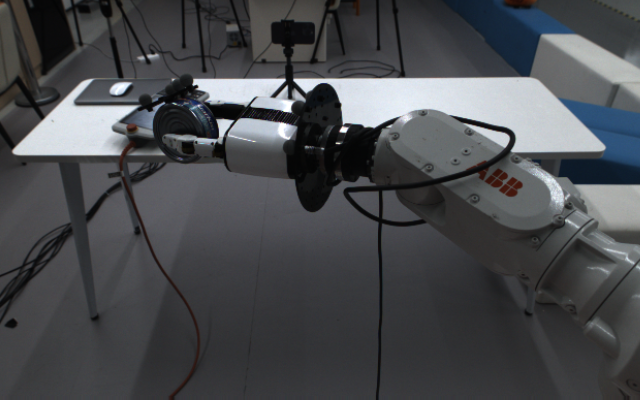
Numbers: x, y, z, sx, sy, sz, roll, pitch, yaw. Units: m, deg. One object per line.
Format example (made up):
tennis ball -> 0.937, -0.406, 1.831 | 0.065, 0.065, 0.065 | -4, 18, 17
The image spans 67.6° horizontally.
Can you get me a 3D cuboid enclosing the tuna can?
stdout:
tuna can -> -0.182, -0.094, 0.655 | 0.085, 0.085, 0.034 | 14, 30, 17
